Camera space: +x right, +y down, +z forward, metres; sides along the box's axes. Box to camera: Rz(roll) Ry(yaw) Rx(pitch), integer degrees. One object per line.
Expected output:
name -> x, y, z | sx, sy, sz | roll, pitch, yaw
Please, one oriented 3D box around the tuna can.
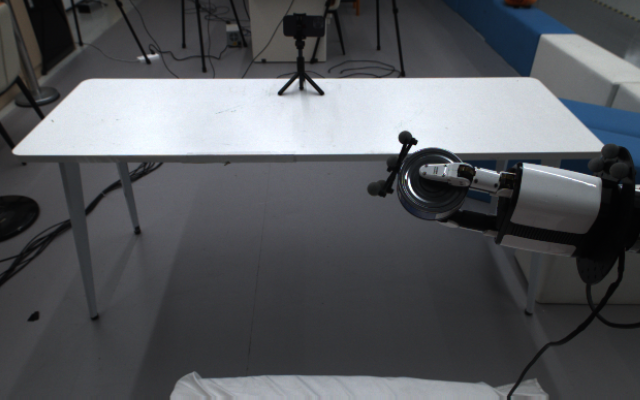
tuna can -> 0.140, -0.022, 0.593 | 0.085, 0.034, 0.085 | -2, 71, 5
